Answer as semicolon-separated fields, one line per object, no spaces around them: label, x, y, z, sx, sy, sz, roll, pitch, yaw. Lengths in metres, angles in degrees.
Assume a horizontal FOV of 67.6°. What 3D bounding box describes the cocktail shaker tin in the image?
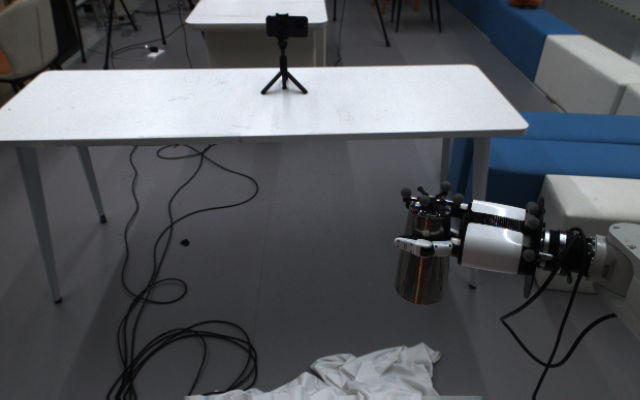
cocktail shaker tin;0.181;0.077;0.814;0.093;0.170;0.093;-1;32;1
